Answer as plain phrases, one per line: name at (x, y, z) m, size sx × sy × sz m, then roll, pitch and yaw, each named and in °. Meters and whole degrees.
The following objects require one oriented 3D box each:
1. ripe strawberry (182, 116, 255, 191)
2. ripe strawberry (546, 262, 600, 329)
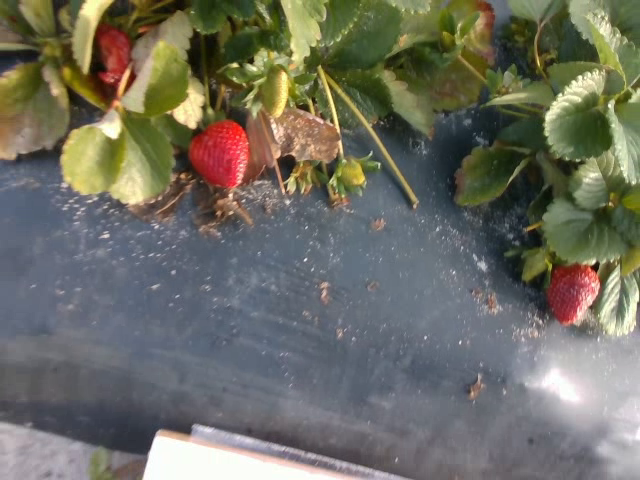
ripe strawberry at (-0.042, -0.034, 0.234) m, size 0.032 × 0.030 × 0.025 m, roll -20°, pitch -20°, yaw -10°
ripe strawberry at (0.119, 0.028, 0.262) m, size 0.030 × 0.036 × 0.021 m, roll 18°, pitch -14°, yaw -3°
